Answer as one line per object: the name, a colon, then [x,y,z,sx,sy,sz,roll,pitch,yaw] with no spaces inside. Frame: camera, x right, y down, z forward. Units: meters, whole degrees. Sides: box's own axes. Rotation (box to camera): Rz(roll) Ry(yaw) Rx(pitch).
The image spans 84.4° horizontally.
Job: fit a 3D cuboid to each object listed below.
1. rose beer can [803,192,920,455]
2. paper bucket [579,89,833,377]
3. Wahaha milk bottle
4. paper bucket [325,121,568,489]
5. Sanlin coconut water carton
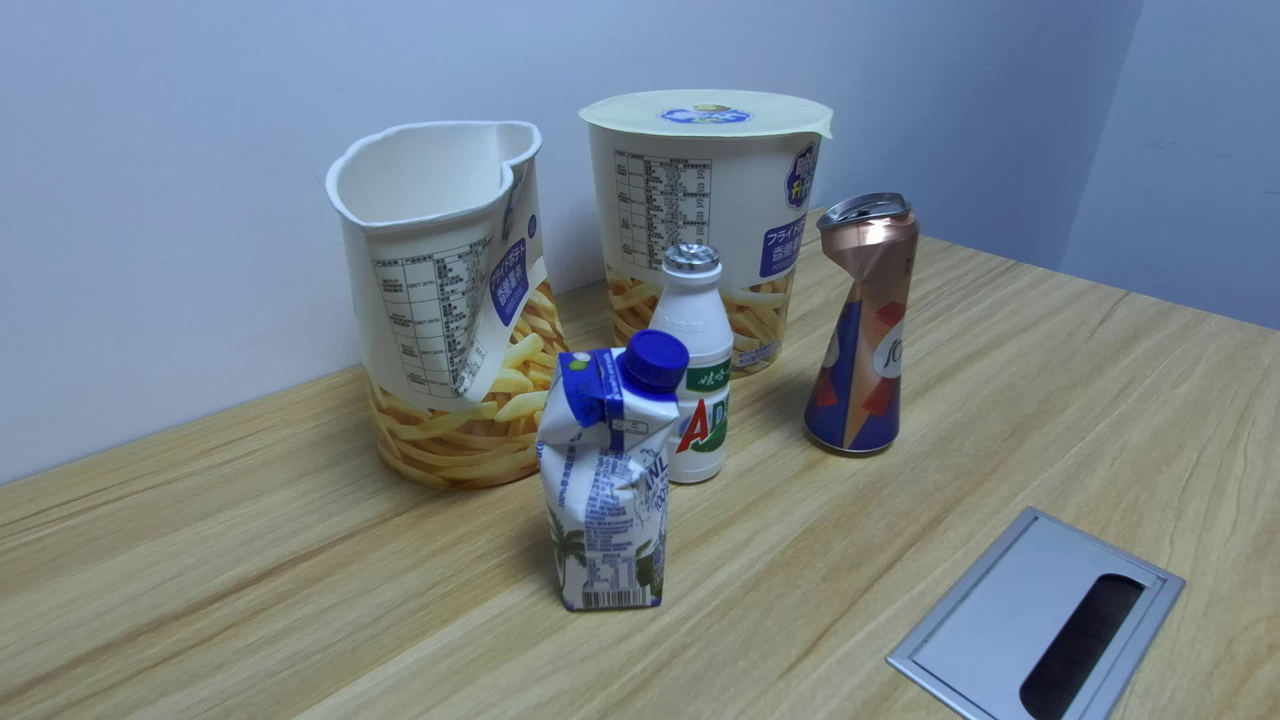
rose beer can: [0.144,-0.020,0.458,0.070,0.168,0.069,-16,29,-21]
paper bucket: [0.050,-0.102,0.570,0.198,0.195,0.198,-1,30,1]
Wahaha milk bottle: [0.030,0.005,0.429,0.053,0.147,0.053,0,28,0]
paper bucket: [-0.109,-0.039,0.455,0.148,0.199,0.217,-14,32,-23]
Sanlin coconut water carton: [-0.014,0.055,0.345,0.070,0.144,0.060,0,30,-3]
